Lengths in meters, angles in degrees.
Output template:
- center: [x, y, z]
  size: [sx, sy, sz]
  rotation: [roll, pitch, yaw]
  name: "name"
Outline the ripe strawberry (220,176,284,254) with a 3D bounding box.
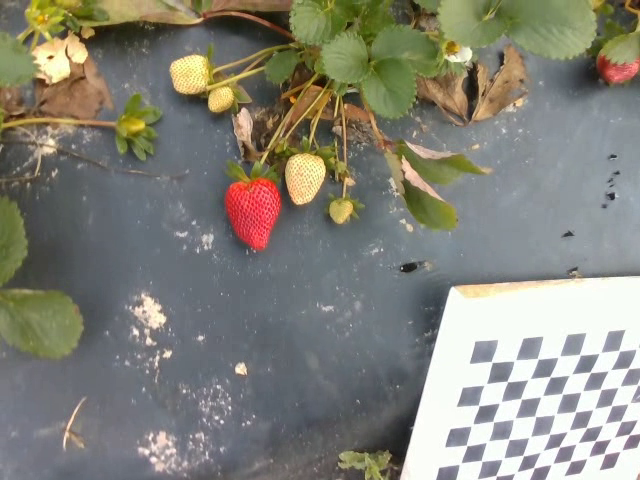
- center: [-0.047, -0.020, 0.444]
  size: [0.050, 0.059, 0.034]
  rotation: [-10, -20, -13]
  name: "ripe strawberry"
